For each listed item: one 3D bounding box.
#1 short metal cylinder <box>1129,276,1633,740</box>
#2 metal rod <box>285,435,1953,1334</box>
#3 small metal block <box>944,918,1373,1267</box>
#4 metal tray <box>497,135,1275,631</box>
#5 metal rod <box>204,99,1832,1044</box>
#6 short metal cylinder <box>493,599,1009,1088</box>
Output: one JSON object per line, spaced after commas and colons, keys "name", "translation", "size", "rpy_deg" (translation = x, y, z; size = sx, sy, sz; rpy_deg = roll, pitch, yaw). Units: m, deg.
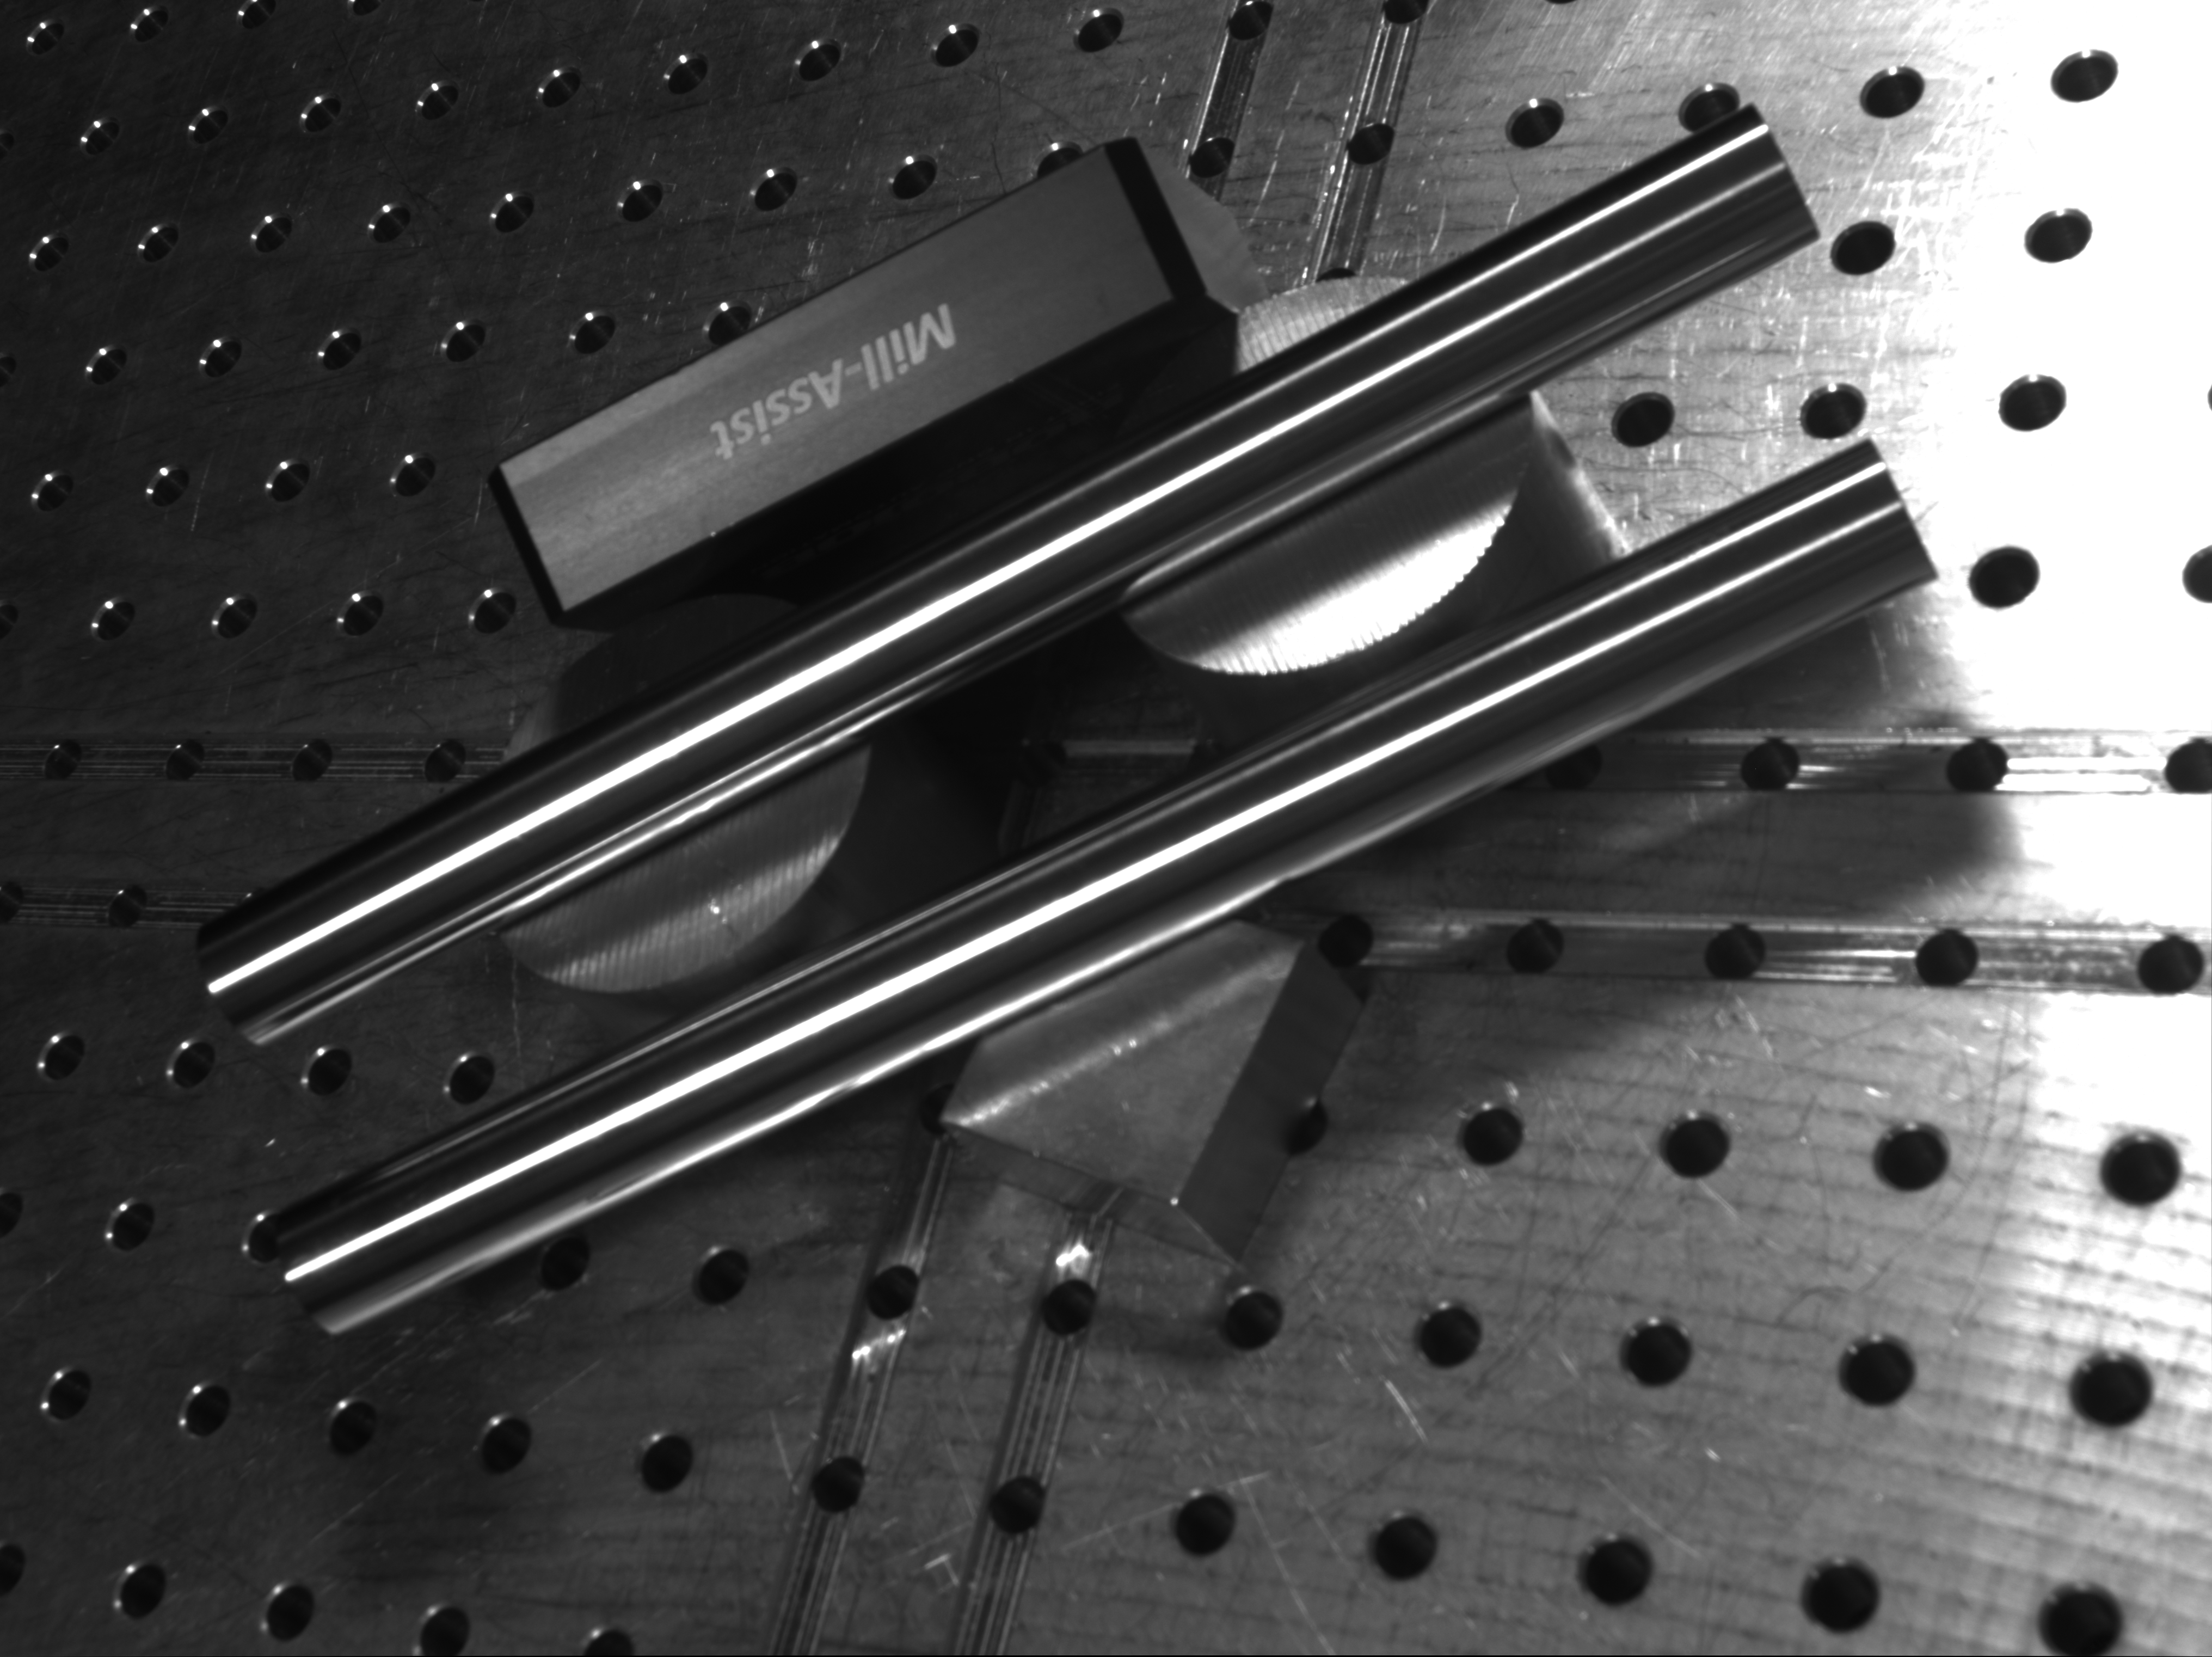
{"name": "short metal cylinder", "translation": [0.047, -0.049, 0.637], "size": [0.080, 0.050, 0.080], "rpy_deg": [-13, 56, 21]}
{"name": "metal rod", "translation": [-0.004, 0.013, 0.608], "size": [0.300, 0.025, 0.025], "rpy_deg": [-26, 52, 12]}
{"name": "small metal block", "translation": [0.009, 0.040, 0.617], "size": [0.050, 0.025, 0.050], "rpy_deg": [16, 70, 35]}
{"name": "metal tray", "translation": [-0.035, -0.076, 0.670], "size": [0.130, 0.090, 0.030], "rpy_deg": [-26, 84, 12]}
{"name": "metal rod", "translation": [-0.020, -0.039, 0.617], "size": [0.300, 0.025, 0.025], "rpy_deg": [-27, 52, 11]}
{"name": "short metal cylinder", "translation": [-0.064, 0.006, 0.662], "size": [0.080, 0.050, 0.080], "rpy_deg": [-13, 56, 21]}
